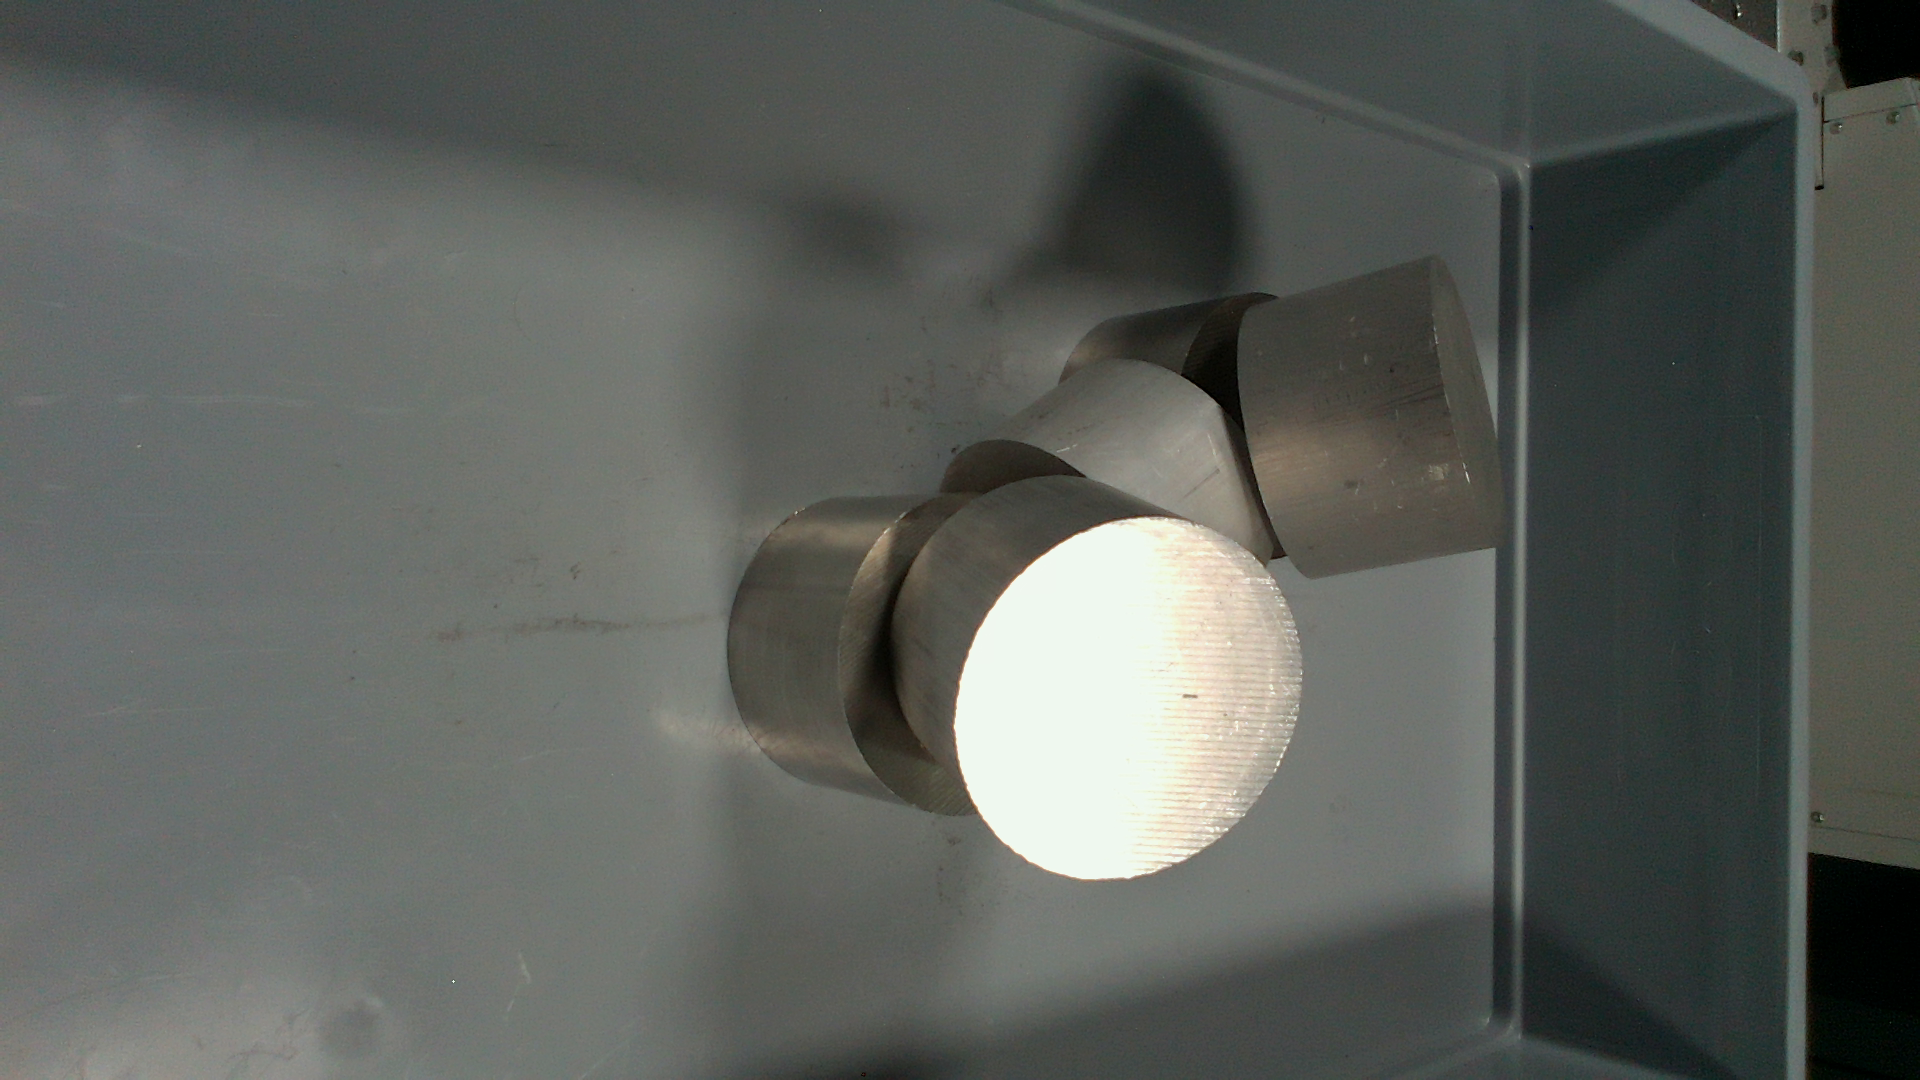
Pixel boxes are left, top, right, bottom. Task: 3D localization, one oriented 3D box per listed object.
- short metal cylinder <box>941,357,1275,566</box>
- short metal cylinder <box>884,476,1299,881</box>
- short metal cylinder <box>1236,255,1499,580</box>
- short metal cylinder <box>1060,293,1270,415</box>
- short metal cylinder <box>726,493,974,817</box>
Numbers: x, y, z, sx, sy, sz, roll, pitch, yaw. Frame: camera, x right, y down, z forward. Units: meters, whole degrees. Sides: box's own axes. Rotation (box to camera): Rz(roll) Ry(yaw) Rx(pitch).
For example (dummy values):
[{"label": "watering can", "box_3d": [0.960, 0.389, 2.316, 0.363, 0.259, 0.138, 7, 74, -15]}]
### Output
[{"label": "short metal cylinder", "box_3d": [0.041, -0.004, 0.385, 0.050, 0.080, 0.080, -36, 112, -34]}, {"label": "short metal cylinder", "box_3d": [0.028, 0.029, 0.311, 0.080, 0.050, 0.080, -5, 104, -19]}, {"label": "short metal cylinder", "box_3d": [0.115, -0.033, 0.382, 0.080, 0.050, 0.080, 34, 49, -52]}, {"label": "short metal cylinder", "box_3d": [0.075, -0.034, 0.434, 0.080, 0.050, 0.080, 0, 90, -40]}, {"label": "short metal cylinder", "box_3d": [-0.013, 0.028, 0.360, 0.080, 0.050, 0.080, 0, 90, -40]}]
